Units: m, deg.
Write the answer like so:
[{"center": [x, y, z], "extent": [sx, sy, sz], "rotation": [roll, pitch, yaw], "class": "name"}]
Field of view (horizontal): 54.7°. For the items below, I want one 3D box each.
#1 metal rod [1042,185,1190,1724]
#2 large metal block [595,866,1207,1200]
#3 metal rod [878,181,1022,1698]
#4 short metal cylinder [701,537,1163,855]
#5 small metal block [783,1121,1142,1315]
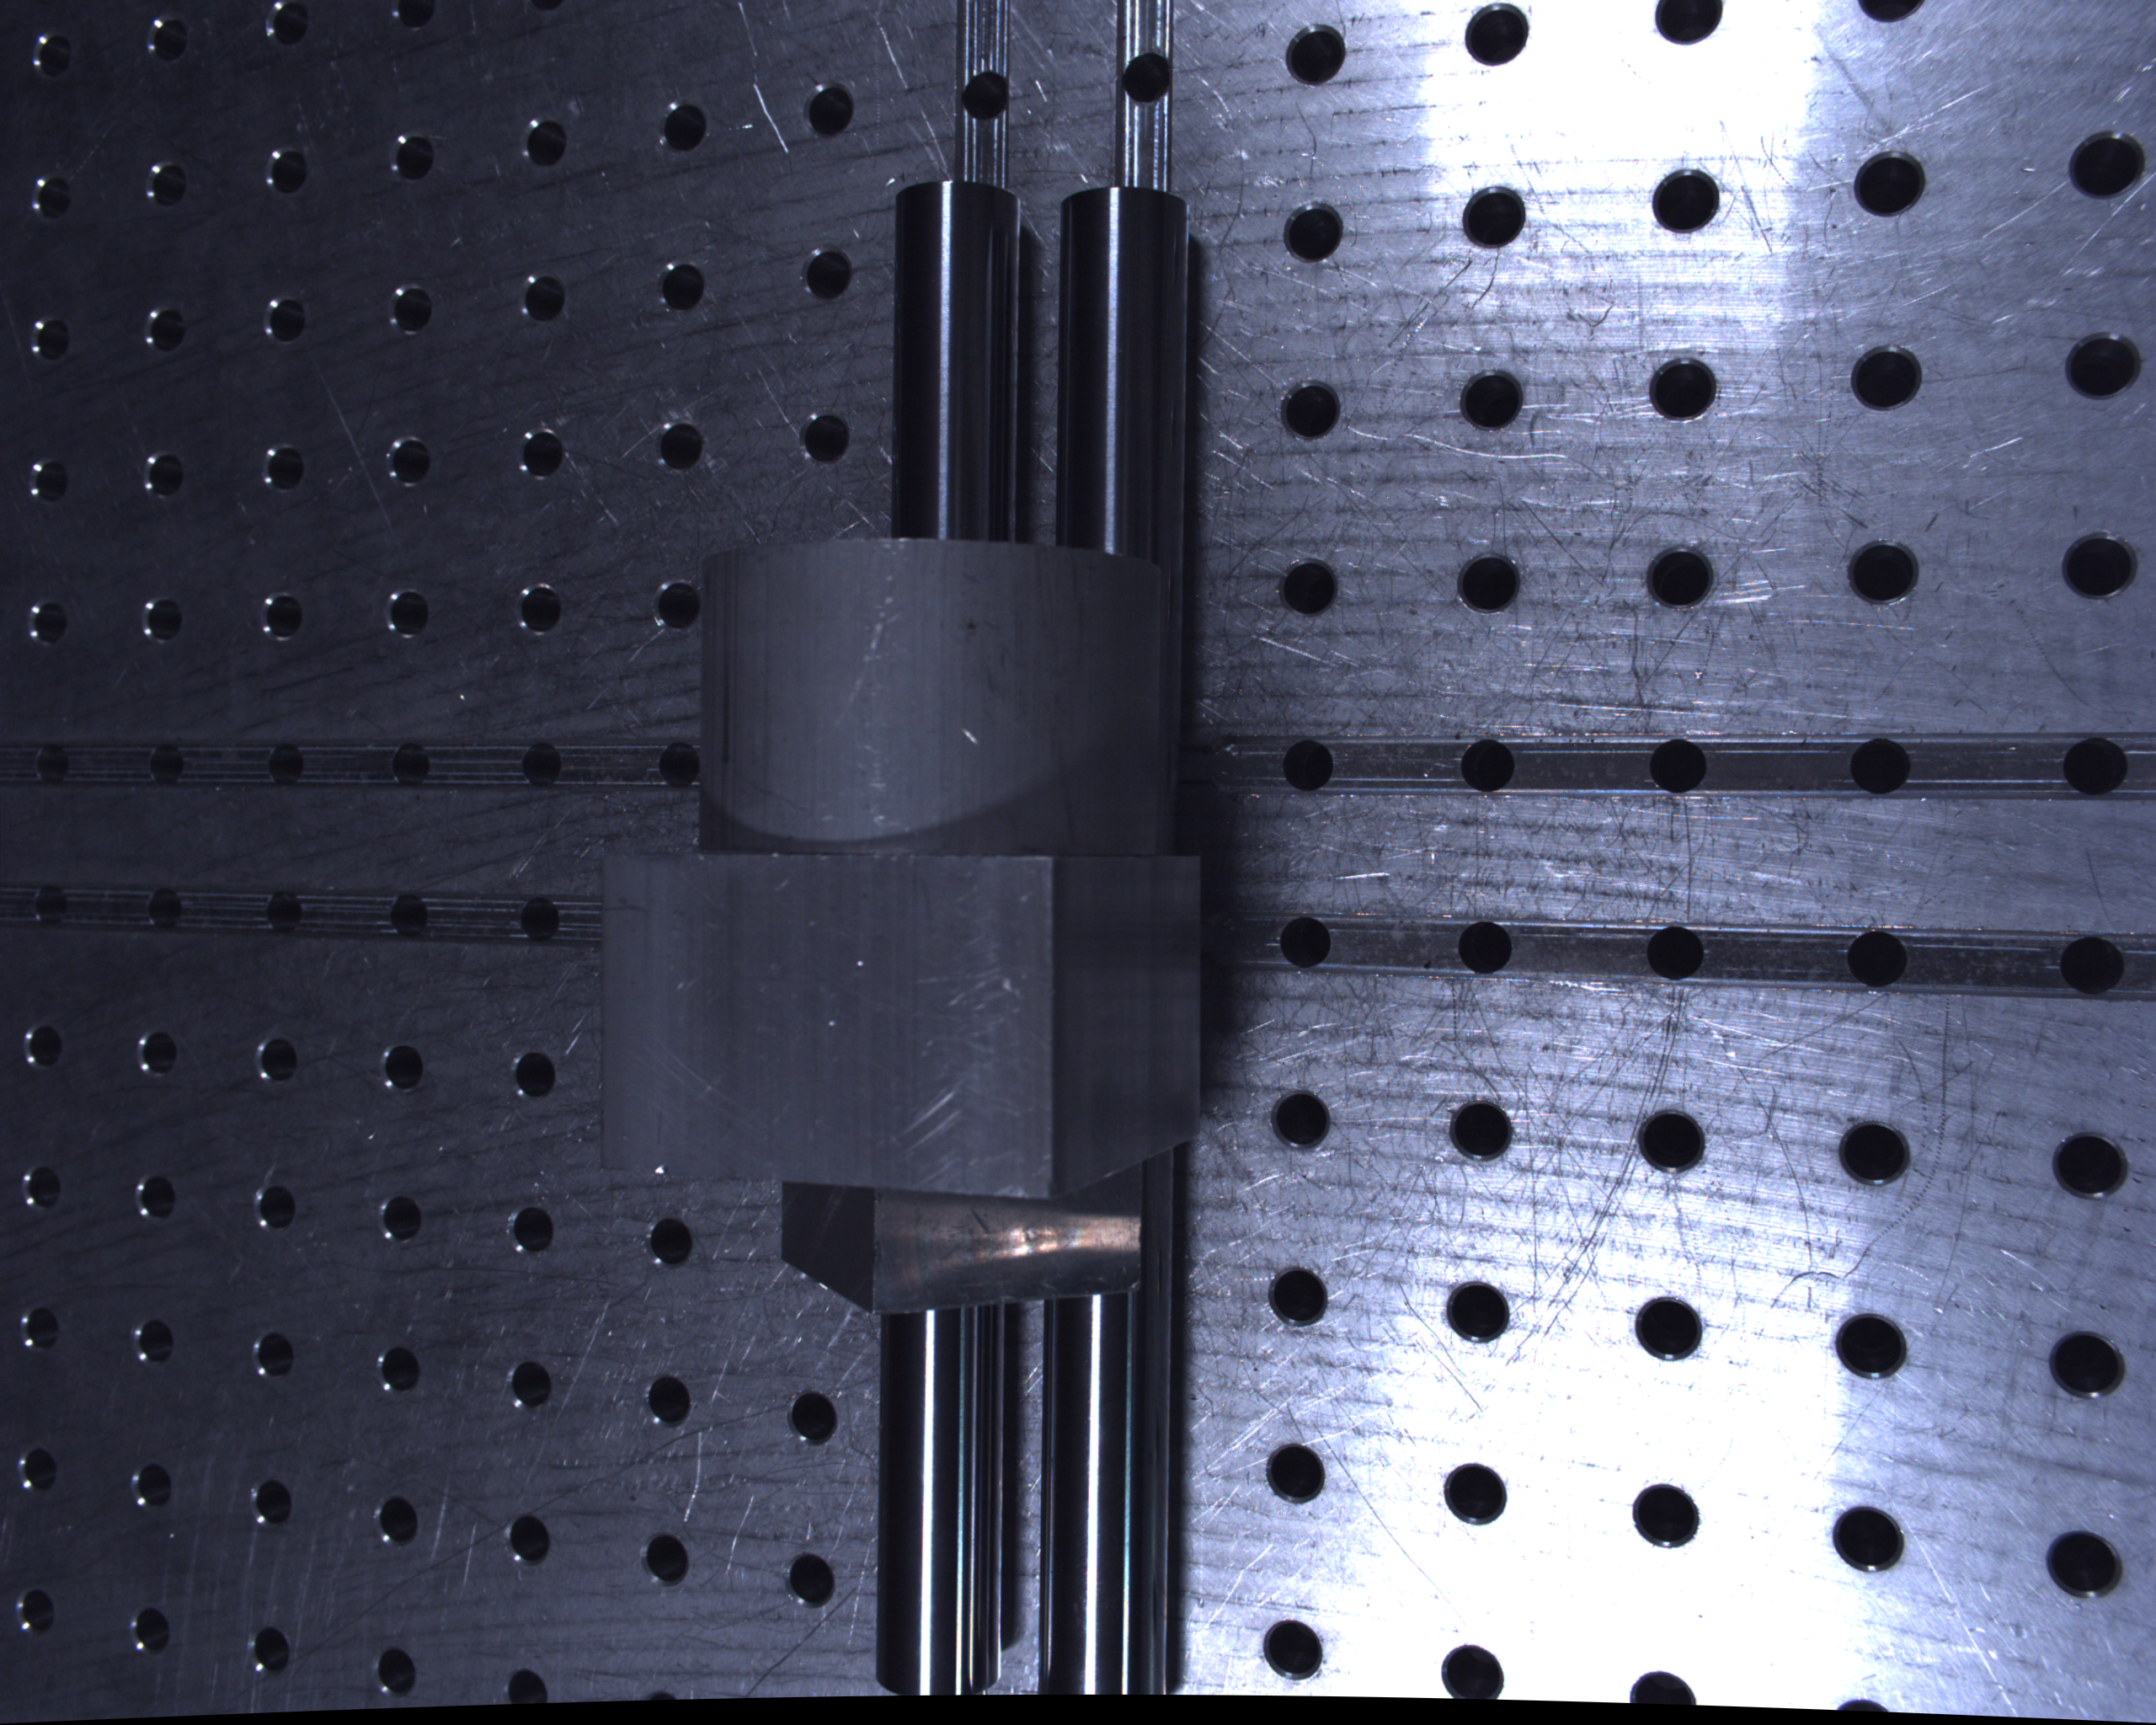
[{"center": [0.007, 0.020, 0.410], "extent": [0.025, 0.025, 0.298], "rotation": [1, 90, 19], "class": "metal rod"}, {"center": [-0.027, 0.026, 0.366], "extent": [0.080, 0.080, 0.050], "rotation": [1, 90, 19], "class": "large metal block"}, {"center": [-0.026, 0.015, 0.422], "extent": [0.025, 0.025, 0.298], "rotation": [1, 90, 19], "class": "metal rod"}, {"center": [-0.025, -0.027, 0.369], "extent": [0.080, 0.080, 0.050], "rotation": [1, 91, 19], "class": "short metal cylinder"}, {"center": [-0.022, 0.063, 0.382], "extent": [0.050, 0.050, 0.025], "rotation": [1, 91, -25], "class": "small metal block"}]
